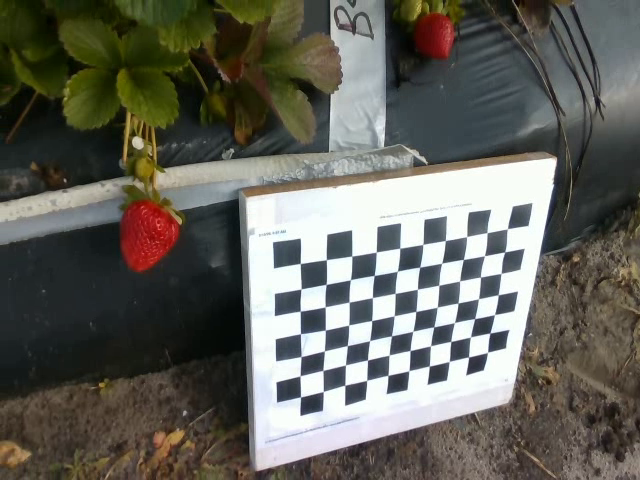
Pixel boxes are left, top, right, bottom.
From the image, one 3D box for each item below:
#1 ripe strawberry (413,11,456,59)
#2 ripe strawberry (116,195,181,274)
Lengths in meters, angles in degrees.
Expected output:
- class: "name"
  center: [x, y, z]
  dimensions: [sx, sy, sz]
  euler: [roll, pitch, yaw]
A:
- class: "ripe strawberry"
  center: [0.092, -0.154, 0.462]
  dimensions: [0.037, 0.048, 0.031]
  euler: [5, -32, -25]
- class: "ripe strawberry"
  center: [-0.115, -0.003, 0.391]
  dimensions: [0.047, 0.053, 0.030]
  euler: [32, -17, -33]
